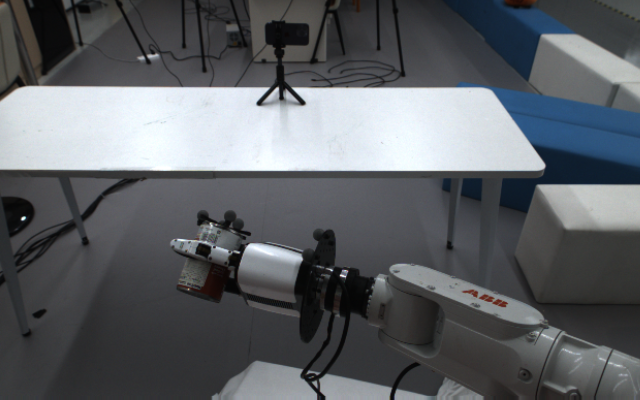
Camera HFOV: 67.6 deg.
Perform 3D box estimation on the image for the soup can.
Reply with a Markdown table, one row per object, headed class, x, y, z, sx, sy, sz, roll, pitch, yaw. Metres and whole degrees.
| class | x | y | z | sx | sy | sz | roll | pitch | yaw |
| --- | --- | --- | --- | --- | --- | --- | --- | --- | --- |
| soup can | -0.160 | 0.092 | 0.704 | 0.067 | 0.067 | 0.101 | 12 | 70 | 14 |
